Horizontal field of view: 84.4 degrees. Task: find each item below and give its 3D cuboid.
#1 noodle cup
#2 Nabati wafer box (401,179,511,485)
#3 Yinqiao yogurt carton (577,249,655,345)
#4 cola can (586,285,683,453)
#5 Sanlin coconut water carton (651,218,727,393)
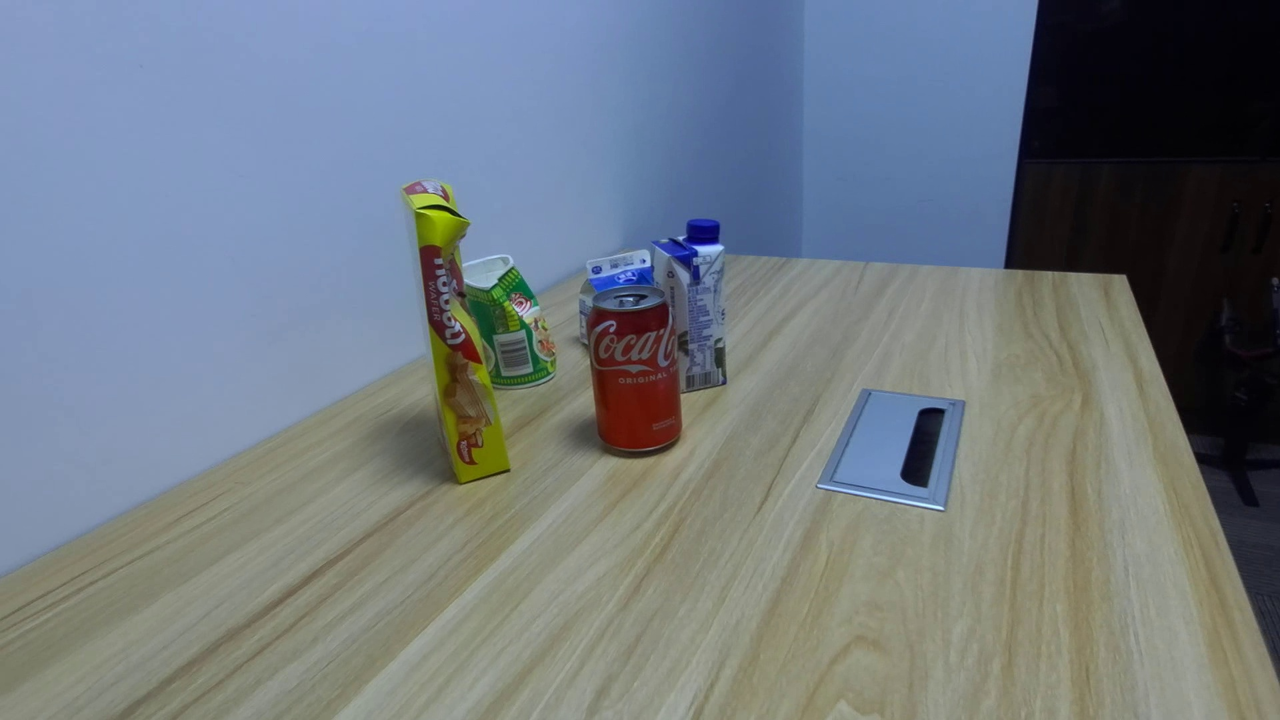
[{"bbox_3d":[-0.122,-0.036,0.667,0.075,0.122,0.083,3,33,37],"label":"noodle cup"},{"bbox_3d":[-0.133,-0.020,0.511,0.042,0.204,0.106,-12,23,-20],"label":"Nabati wafer box"},{"bbox_3d":[-0.018,-0.061,0.724,0.077,0.094,0.071,-13,19,-22],"label":"Yinqiao yogurt carton"},{"bbox_3d":[-0.003,0.006,0.530,0.068,0.120,0.068,-3,23,2],"label":"cola can"},{"bbox_3d":[0.043,-0.048,0.616,0.061,0.144,0.060,-12,25,-16],"label":"Sanlin coconut water carton"}]
